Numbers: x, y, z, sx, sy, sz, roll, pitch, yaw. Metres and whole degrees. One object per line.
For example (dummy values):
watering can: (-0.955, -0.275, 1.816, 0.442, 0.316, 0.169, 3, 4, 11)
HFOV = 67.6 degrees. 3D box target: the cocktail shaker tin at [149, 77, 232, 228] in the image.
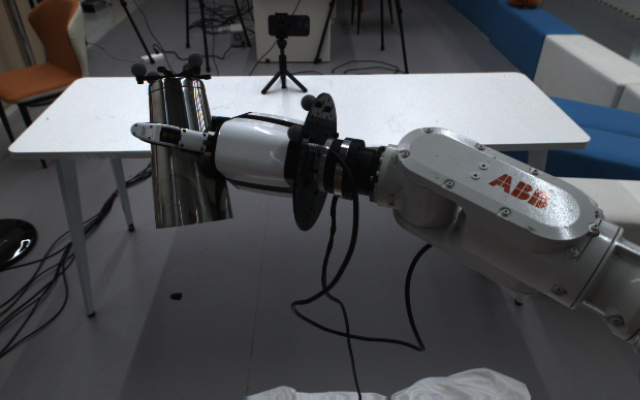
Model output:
cocktail shaker tin: (-0.163, -0.055, 0.587, 0.093, 0.170, 0.093, -8, 1, 0)
